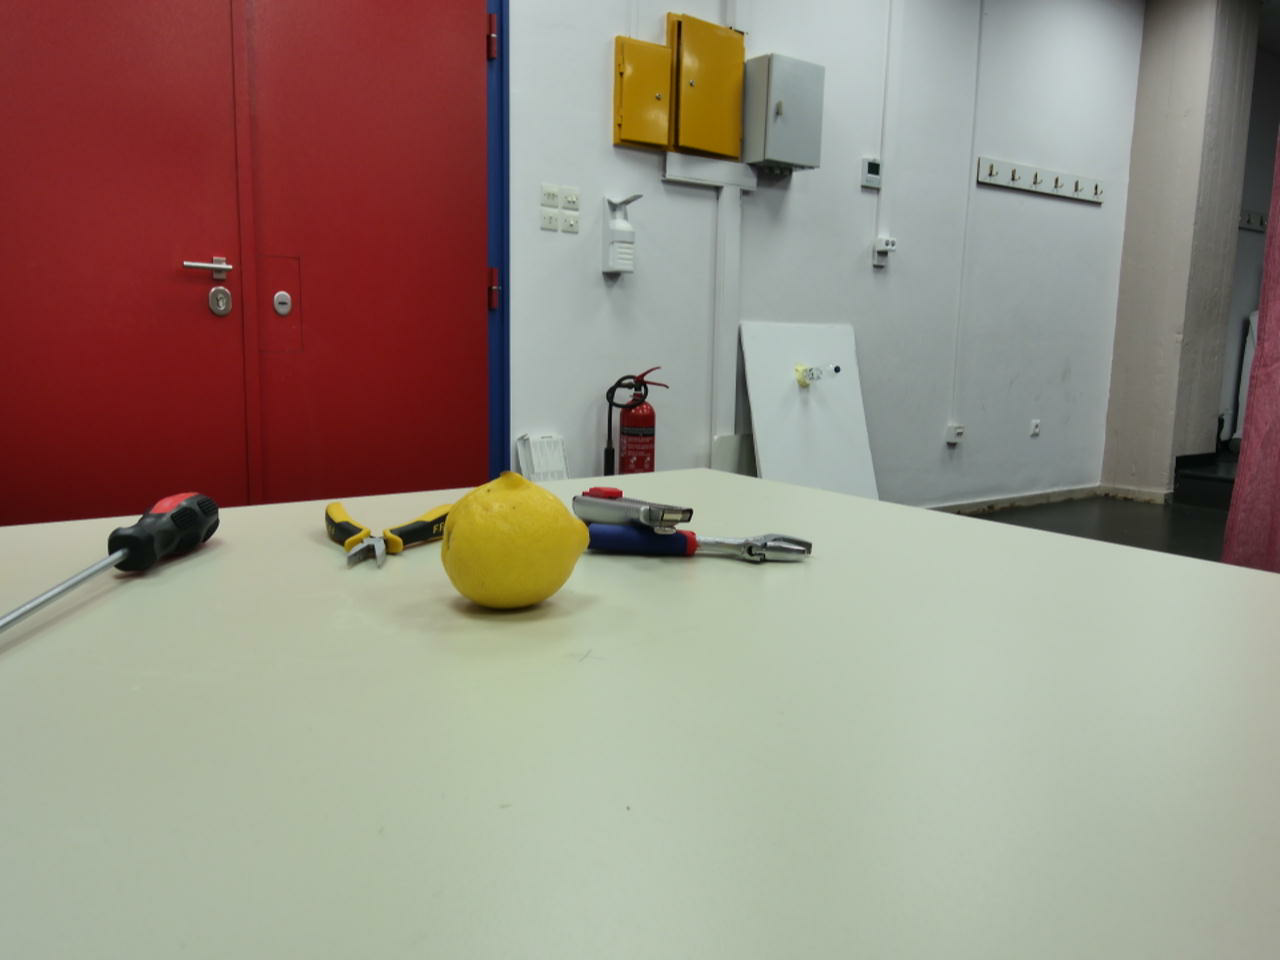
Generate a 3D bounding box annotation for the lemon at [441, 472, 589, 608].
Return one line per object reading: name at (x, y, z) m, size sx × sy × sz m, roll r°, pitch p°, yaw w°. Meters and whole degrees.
lemon at (-0.069, 0.030, 0.523) m, size 0.071 × 0.071 × 0.070 m, roll 2°, pitch 7°, yaw 19°
